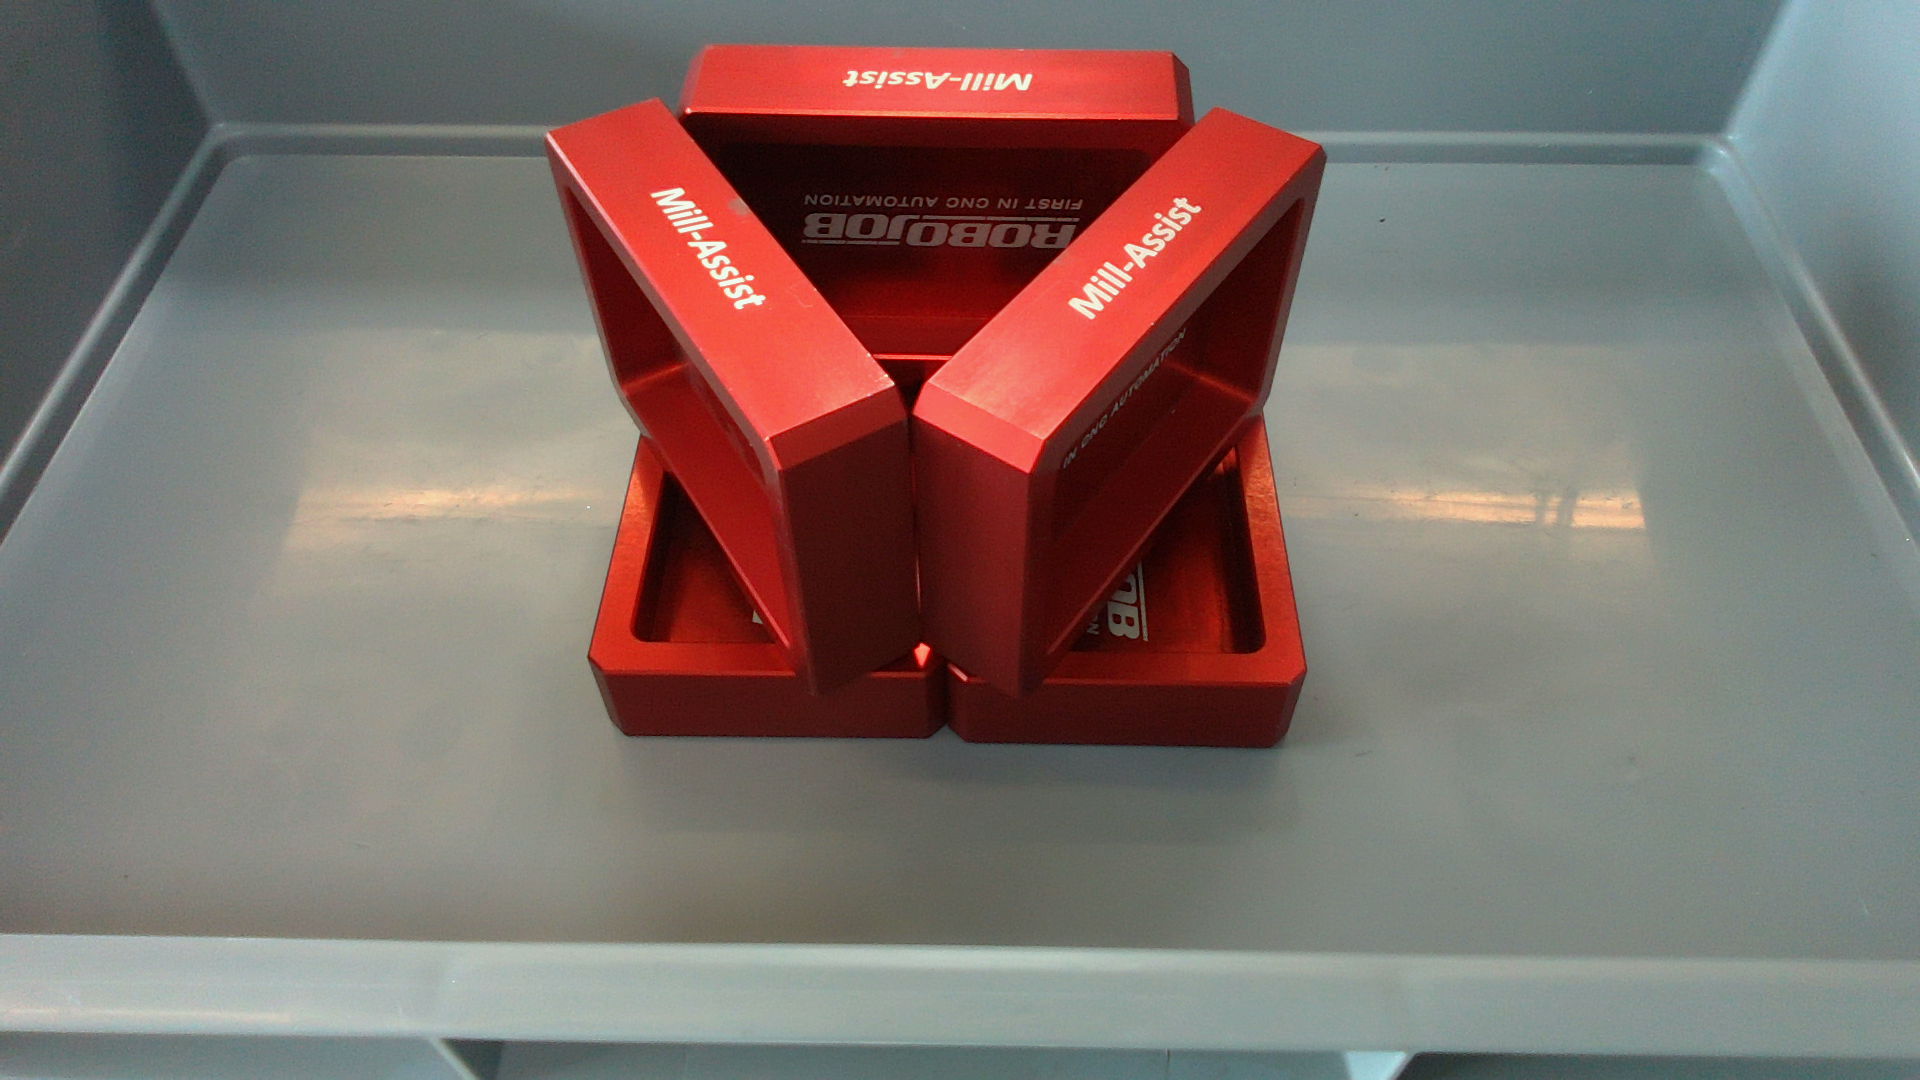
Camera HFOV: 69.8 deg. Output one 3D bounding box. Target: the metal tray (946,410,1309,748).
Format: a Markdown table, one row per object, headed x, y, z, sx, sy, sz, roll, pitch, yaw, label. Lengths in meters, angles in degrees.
| x | y | z | sx | sy | sz | roll | pitch | yaw | label |
| --- | --- | --- | --- | --- | --- | --- | --- | --- | --- |
| 0.043 | -0.005 | 0.391 | 0.090 | 0.030 | 0.130 | 1 | 49 | 1 | metal tray |

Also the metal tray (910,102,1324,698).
| x | y | z | sx | sy | sz | roll | pitch | yaw | label |
| --- | --- | --- | --- | --- | --- | --- | --- | --- | --- |
| 0.040 | -0.035 | 0.336 | 0.030 | 0.090 | 0.130 | 28 | 56 | 22 | metal tray |

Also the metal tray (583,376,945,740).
| x | y | z | sx | sy | sz | roll | pitch | yaw | label |
| --- | --- | --- | --- | --- | --- | --- | --- | --- | --- |
| -0.048 | -0.006 | 0.393 | 0.090 | 0.030 | 0.130 | 0 | 49 | 1 | metal tray |

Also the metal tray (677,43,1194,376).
| x | y | z | sx | sy | sz | roll | pitch | yaw | label |
| --- | --- | --- | --- | --- | --- | --- | --- | --- | --- |
| -0.006 | -0.088 | 0.381 | 0.130 | 0.090 | 0.030 | 1 | 50 | 1 | metal tray |

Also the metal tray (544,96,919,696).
| x | y | z | sx | sy | sz | roll | pitch | yaw | label |
| --- | --- | --- | --- | --- | --- | --- | --- | --- | --- |
| -0.056 | -0.037 | 0.338 | 0.030 | 0.090 | 0.130 | -25 | 54 | -19 | metal tray |
